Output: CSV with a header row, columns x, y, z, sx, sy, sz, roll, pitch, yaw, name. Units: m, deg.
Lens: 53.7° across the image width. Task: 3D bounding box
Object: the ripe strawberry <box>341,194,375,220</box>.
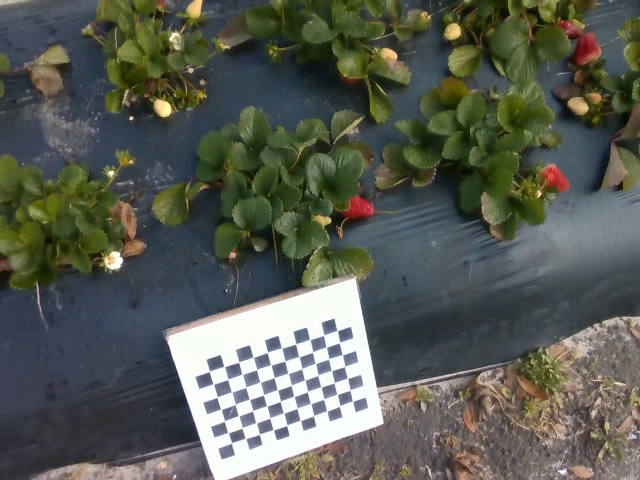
x,y,z,sx,sy,sz,roll,pitch,yaw,name
0.057,-0.046,0.929,0.064,0.051,0.043,16,13,-18,ripe strawberry
